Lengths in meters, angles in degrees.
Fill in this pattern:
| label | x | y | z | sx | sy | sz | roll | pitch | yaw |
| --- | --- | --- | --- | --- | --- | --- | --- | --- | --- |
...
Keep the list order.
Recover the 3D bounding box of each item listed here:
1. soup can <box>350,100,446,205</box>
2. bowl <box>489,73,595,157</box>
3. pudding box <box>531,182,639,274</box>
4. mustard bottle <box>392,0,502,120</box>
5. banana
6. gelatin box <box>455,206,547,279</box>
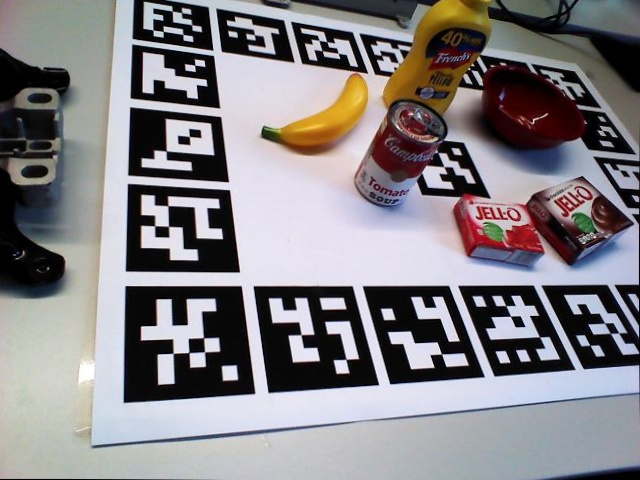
| label | x | y | z | sx | sy | sz | roll | pitch | yaw |
| --- | --- | --- | --- | --- | --- | --- | --- | --- | --- |
| soup can | 0.081 | -0.095 | 0.562 | 0.068 | 0.103 | 0.067 | 12 | 49 | -14 |
| bowl | 0.309 | -0.172 | 0.754 | 0.161 | 0.055 | 0.160 | 9 | 51 | -12 |
| pudding box | 0.331 | -0.017 | 0.649 | 0.113 | 0.039 | 0.090 | -20 | 68 | -32 |
| mustard bottle | 0.170 | -0.241 | 0.646 | 0.096 | 0.193 | 0.058 | 3 | 50 | -19 |
| banana | 0.012 | -0.163 | 0.643 | 0.074 | 0.039 | 0.196 | 29 | 48 | 16 |
| gelatin box | 0.206 | 0.002 | 0.592 | 0.089 | 0.030 | 0.073 | 8 | 55 | -14 |
